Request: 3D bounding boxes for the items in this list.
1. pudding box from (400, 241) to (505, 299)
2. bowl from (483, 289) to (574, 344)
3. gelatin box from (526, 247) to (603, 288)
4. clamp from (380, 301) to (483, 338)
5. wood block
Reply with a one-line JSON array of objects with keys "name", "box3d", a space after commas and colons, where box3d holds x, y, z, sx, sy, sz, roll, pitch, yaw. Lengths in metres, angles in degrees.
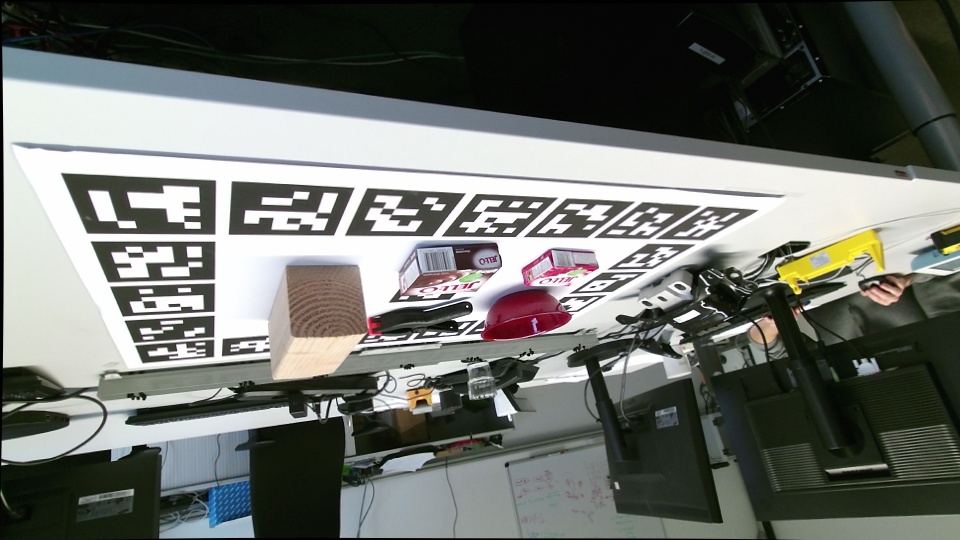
[{"name": "pudding box", "box3d": [-0.037, -0.001, 0.696, 0.114, 0.038, 0.090, -4, 152, -27]}, {"name": "bowl", "box3d": [0.079, 0.077, 0.939, 0.162, 0.055, 0.162, -11, 155, -5]}, {"name": "gelatin box", "box3d": [0.125, -0.001, 0.791, 0.090, 0.030, 0.073, 3, 151, -34]}, {"name": "clamp", "box3d": [-0.084, 0.089, 0.904, 0.166, 0.036, 0.122, -4, 156, -16]}, {"name": "wood block", "box3d": [-0.220, 0.077, 0.708, 0.090, 0.090, 0.206, 1, 154, -29]}]
